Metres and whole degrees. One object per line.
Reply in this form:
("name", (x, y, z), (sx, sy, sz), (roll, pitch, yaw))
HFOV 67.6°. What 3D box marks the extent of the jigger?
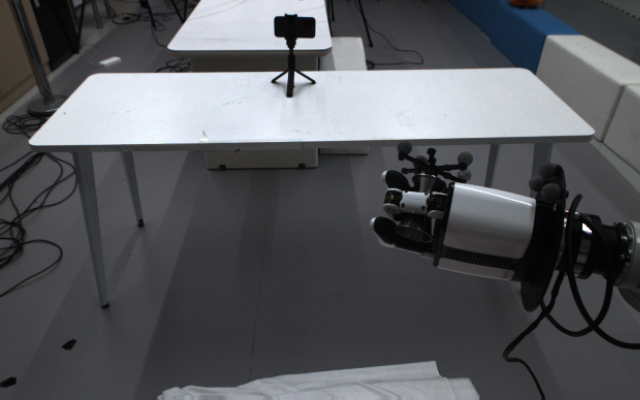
("jigger", (0.119, 0.008, 0.552), (0.043, 0.043, 0.071), (13, 69, 15))
